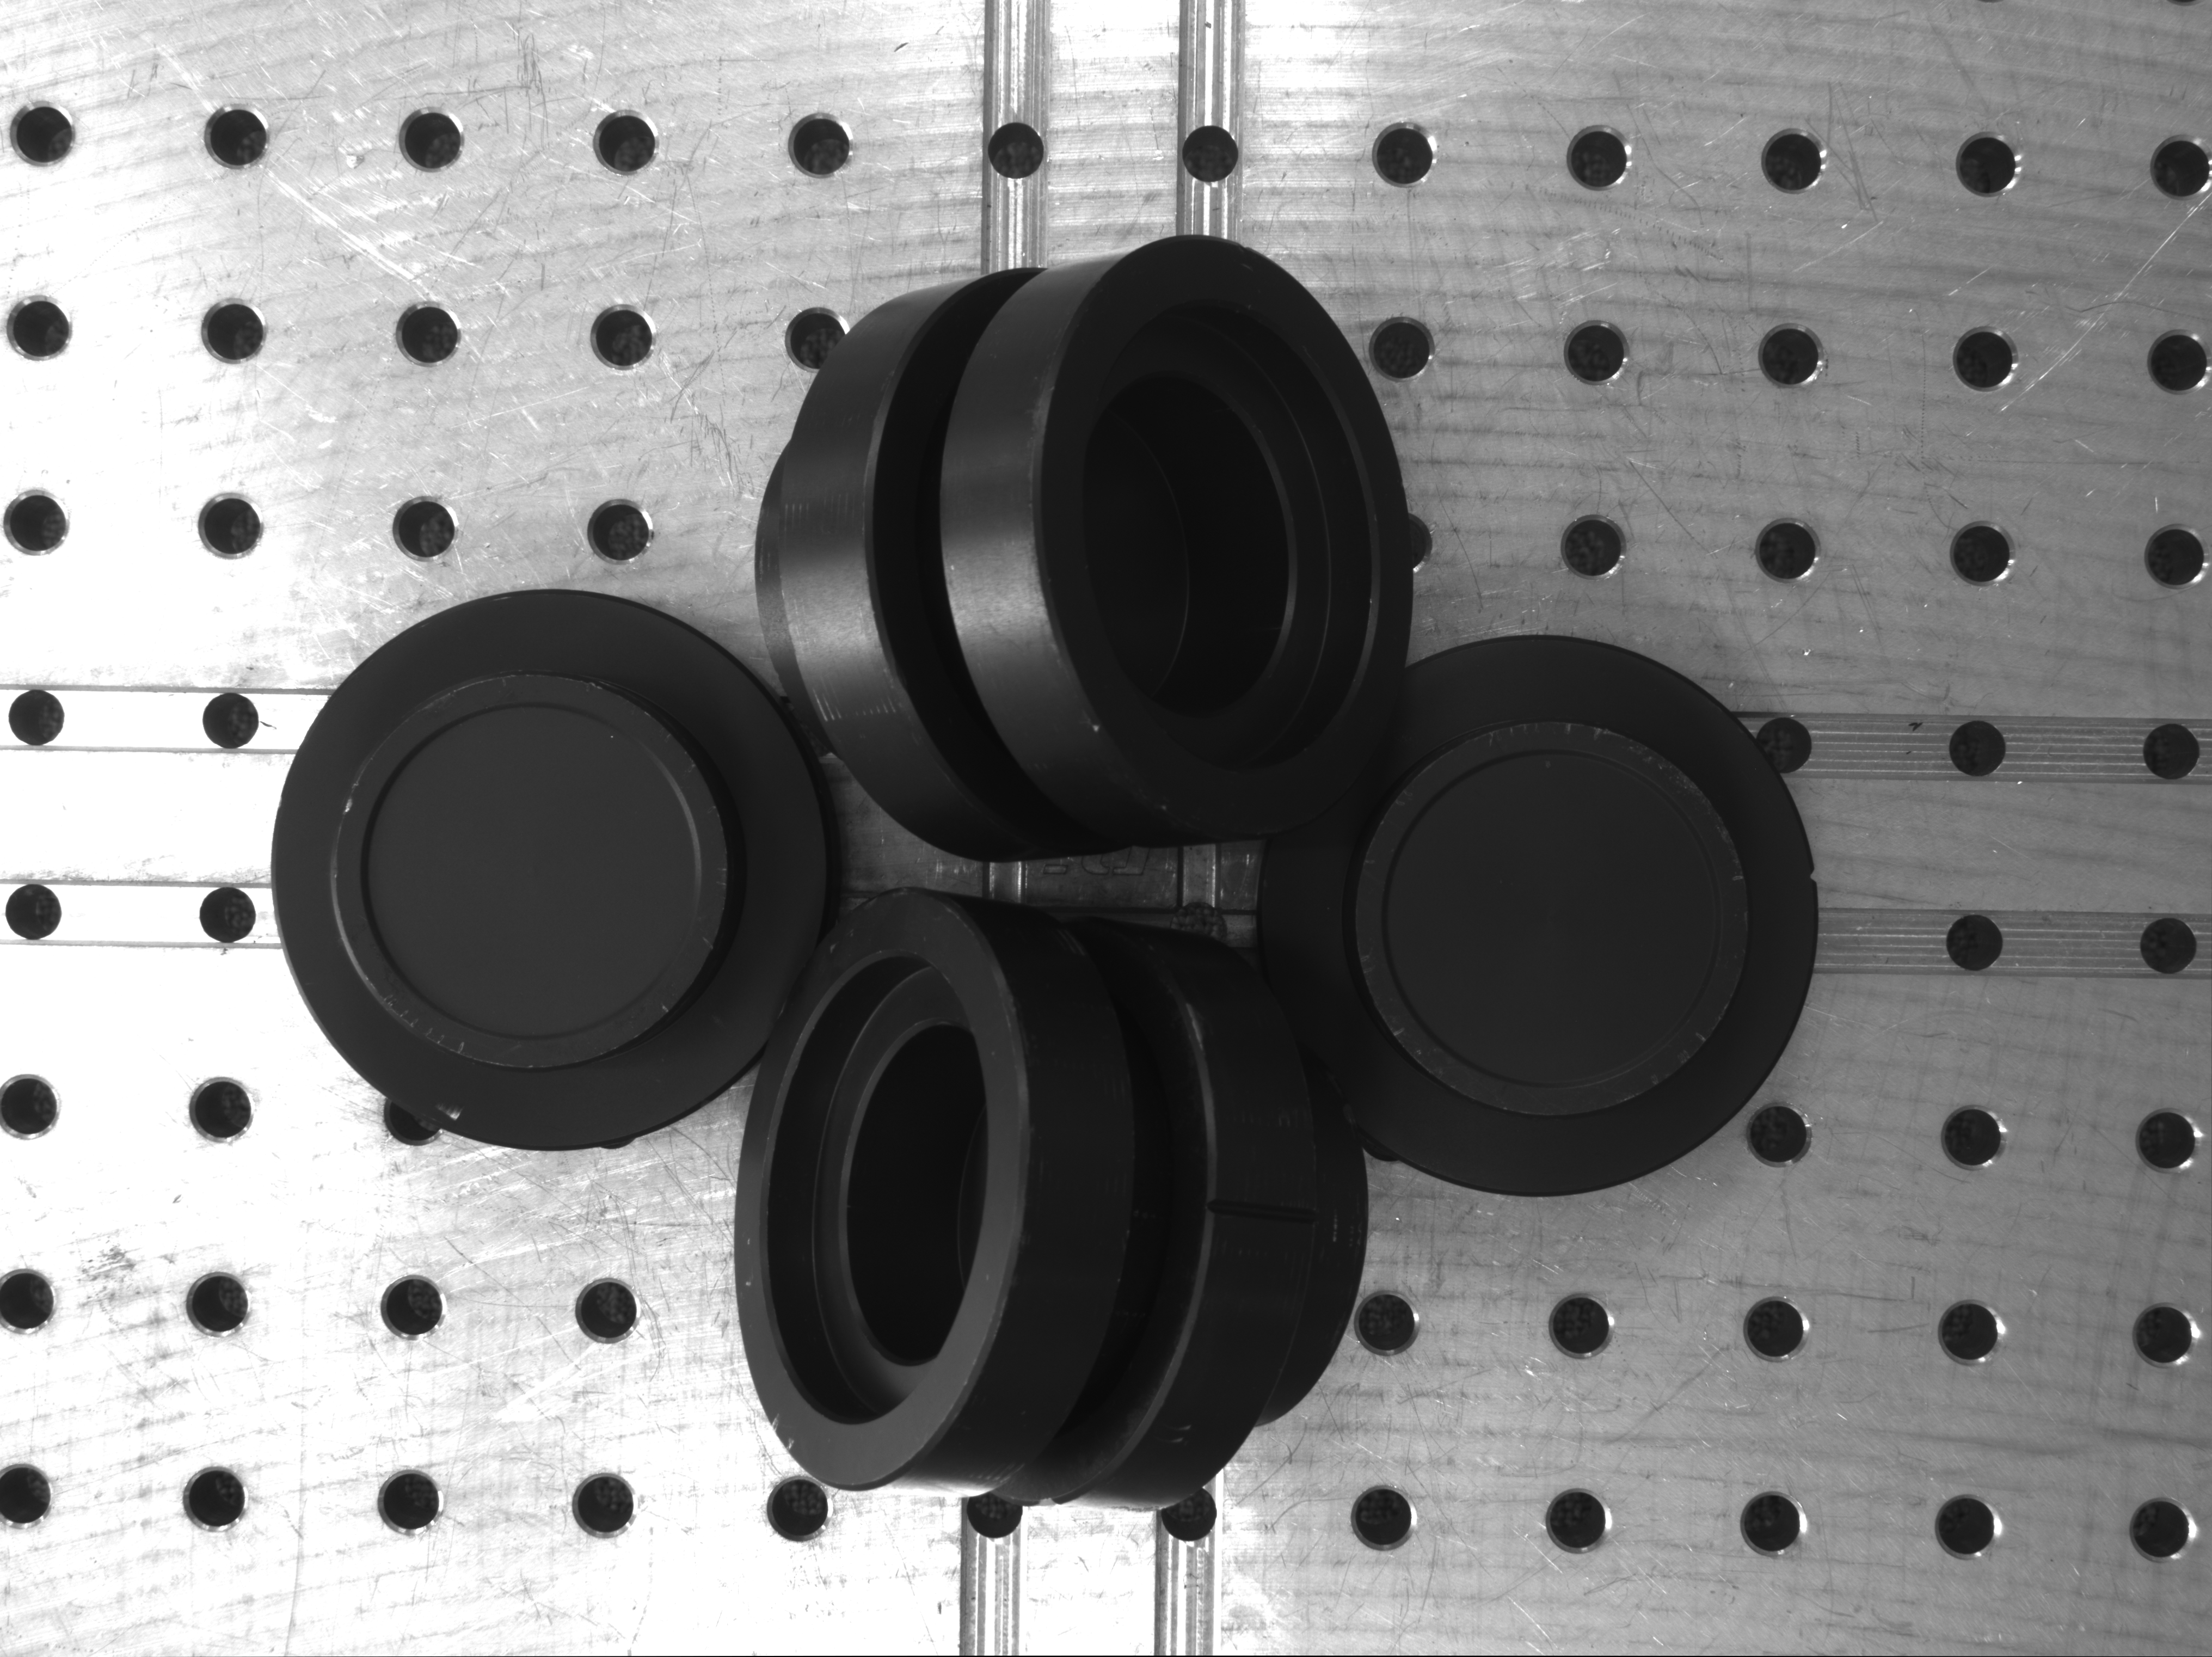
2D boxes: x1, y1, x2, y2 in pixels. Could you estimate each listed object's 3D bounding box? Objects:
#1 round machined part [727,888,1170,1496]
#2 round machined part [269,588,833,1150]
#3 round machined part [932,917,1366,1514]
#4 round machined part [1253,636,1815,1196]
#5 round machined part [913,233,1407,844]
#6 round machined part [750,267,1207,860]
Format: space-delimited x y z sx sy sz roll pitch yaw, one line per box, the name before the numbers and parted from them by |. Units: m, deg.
round machined part | -0.022 0.061 0.607 0.042 0.098 0.098 10 90 -31
round machined part | -0.097 0.007 0.639 0.098 0.042 0.098 0 90 0
round machined part | 0.007 0.066 0.621 0.042 0.098 0.098 10 90 -31
round machined part | 0.075 0.015 0.640 0.098 0.042 0.098 0 90 0
round machined part | 0.004 -0.046 0.605 0.042 0.098 0.098 -6 90 40
round machined part | -0.022 -0.043 0.623 0.042 0.098 0.098 -6 90 40
